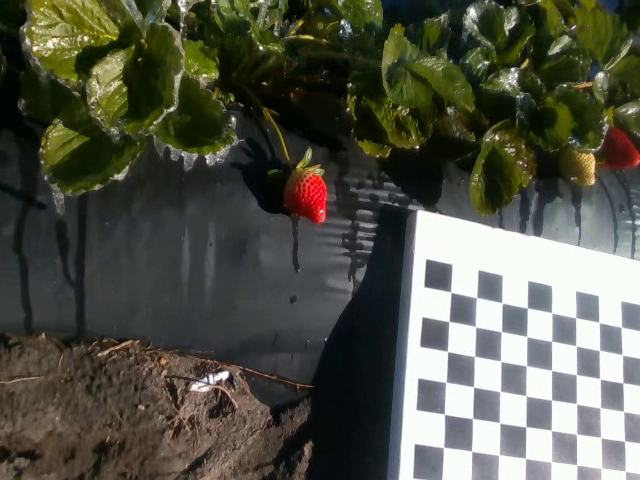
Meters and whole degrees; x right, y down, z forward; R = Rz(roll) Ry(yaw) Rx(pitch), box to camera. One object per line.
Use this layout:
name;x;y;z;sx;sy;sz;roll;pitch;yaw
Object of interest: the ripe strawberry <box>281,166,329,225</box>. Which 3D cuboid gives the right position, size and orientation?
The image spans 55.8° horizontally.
ripe strawberry;-0.008;-0.032;0.460;0.039;0.053;0.041;-10;-27;-19
